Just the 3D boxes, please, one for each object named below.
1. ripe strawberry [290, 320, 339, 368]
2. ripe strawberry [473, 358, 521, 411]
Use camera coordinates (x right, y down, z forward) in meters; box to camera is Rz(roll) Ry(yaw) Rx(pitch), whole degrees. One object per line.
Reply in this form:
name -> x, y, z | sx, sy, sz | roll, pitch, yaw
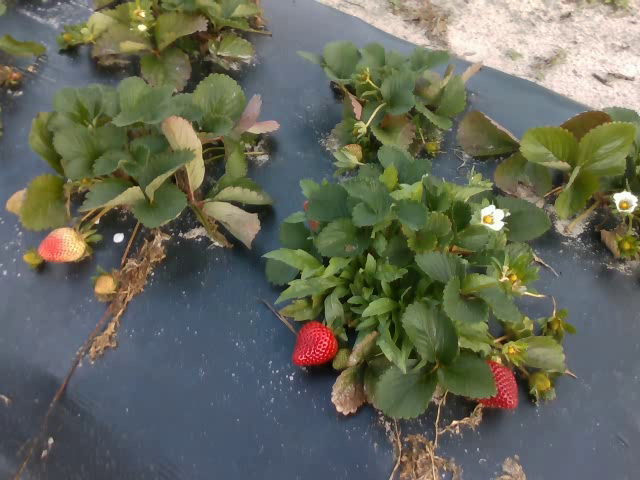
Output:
ripe strawberry -> -0.008, 0.097, 0.547 | 0.043, 0.043, 0.050 | 36, 56, 18
ripe strawberry -> 0.151, 0.127, 0.527 | 0.043, 0.047, 0.046 | -38, 41, -3
